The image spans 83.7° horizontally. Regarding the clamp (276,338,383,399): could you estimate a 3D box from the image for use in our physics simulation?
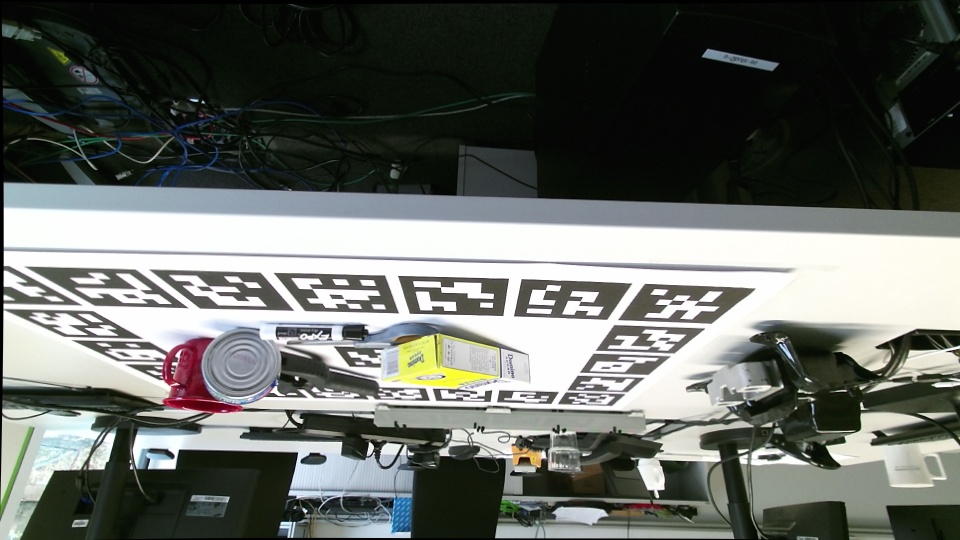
[{"bbox_3d":[-0.249,0.149,0.776,0.166,0.036,0.203,-3,150,9],"label":"clamp"}]

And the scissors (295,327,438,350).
[{"bbox_3d":[-0.130,0.090,0.654,0.203,0.016,0.088,-2,155,10],"label":"scissors"}]

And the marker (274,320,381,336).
[{"bbox_3d":[-0.175,0.067,0.618,0.121,0.019,0.020,0,151,3],"label":"marker"}]

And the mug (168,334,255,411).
[{"bbox_3d":[-0.339,0.128,0.682,0.093,0.081,0.117,-12,152,24],"label":"mug"}]

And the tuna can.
[{"bbox_3d":[-0.279,0.109,0.633,0.086,0.085,0.034,10,151,-15],"label":"tuna can"}]

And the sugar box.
[{"bbox_3d":[-0.023,0.118,0.666,0.093,0.045,0.177,-18,152,32],"label":"sugar box"}]
